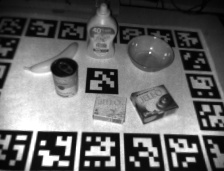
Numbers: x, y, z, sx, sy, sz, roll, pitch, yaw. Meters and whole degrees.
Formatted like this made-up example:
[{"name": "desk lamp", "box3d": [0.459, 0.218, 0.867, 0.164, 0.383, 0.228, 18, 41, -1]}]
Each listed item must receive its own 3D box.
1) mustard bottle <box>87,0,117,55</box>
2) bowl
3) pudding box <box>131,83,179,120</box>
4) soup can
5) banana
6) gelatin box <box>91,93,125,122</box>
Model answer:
[{"name": "mustard bottle", "box3d": [-0.031, -0.183, 0.677, 0.096, 0.192, 0.058, 2, 52, -5]}, {"name": "bowl", "box3d": [0.131, -0.113, 0.752, 0.162, 0.055, 0.161, 3, 54, -4]}, {"name": "pudding box", "box3d": [0.126, 0.043, 0.646, 0.115, 0.039, 0.089, -18, 65, -19]}, {"name": "soup can", "box3d": [-0.139, -0.036, 0.615, 0.068, 0.102, 0.067, 5, 52, -6]}, {"name": "banana", "box3d": [-0.185, -0.105, 0.708, 0.073, 0.039, 0.198, 32, 56, 27]}, {"name": "gelatin box", "box3d": [-0.010, 0.062, 0.619, 0.089, 0.030, 0.073, 8, 57, -1]}]
